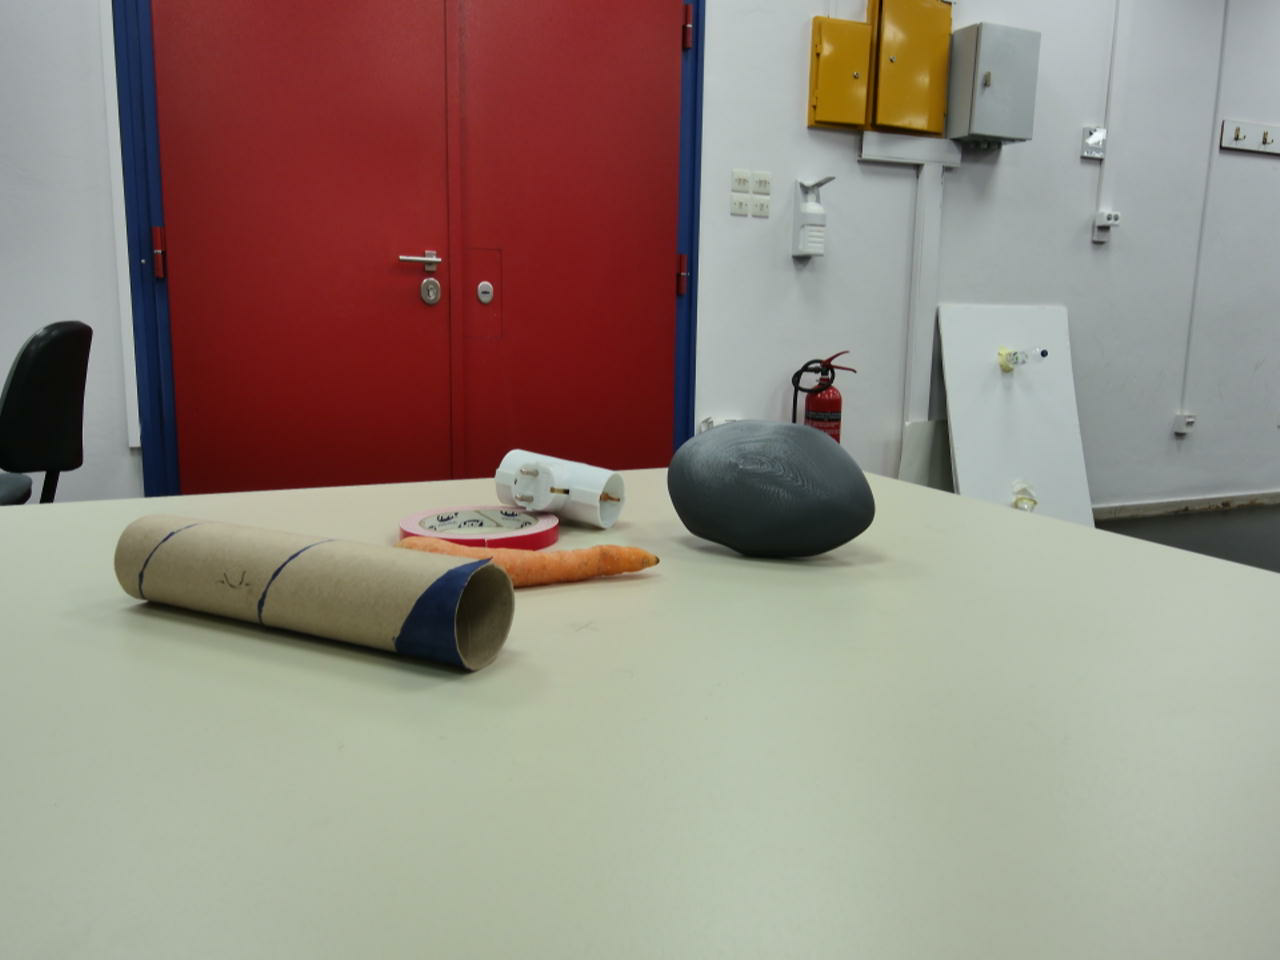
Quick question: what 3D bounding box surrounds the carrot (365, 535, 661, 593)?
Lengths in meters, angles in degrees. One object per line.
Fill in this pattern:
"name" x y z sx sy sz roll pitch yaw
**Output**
"carrot" -0.068 0.046 0.579 0.173 0.032 0.030 -2 8 -15
